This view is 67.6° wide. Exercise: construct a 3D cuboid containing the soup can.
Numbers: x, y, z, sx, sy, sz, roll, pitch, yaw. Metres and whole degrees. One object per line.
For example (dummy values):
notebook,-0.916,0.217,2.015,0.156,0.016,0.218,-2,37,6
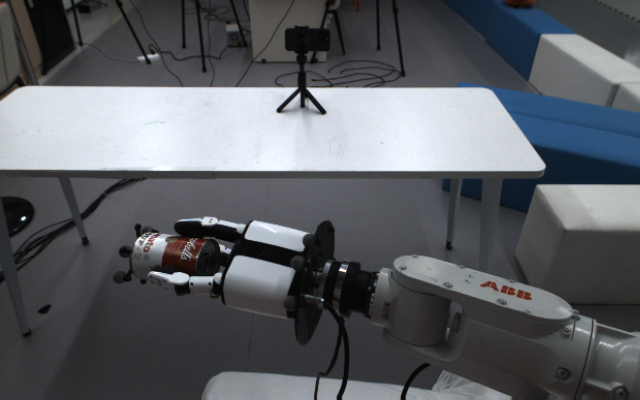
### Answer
soup can,-0.194,0.083,0.660,0.101,0.067,0.067,5,34,14
